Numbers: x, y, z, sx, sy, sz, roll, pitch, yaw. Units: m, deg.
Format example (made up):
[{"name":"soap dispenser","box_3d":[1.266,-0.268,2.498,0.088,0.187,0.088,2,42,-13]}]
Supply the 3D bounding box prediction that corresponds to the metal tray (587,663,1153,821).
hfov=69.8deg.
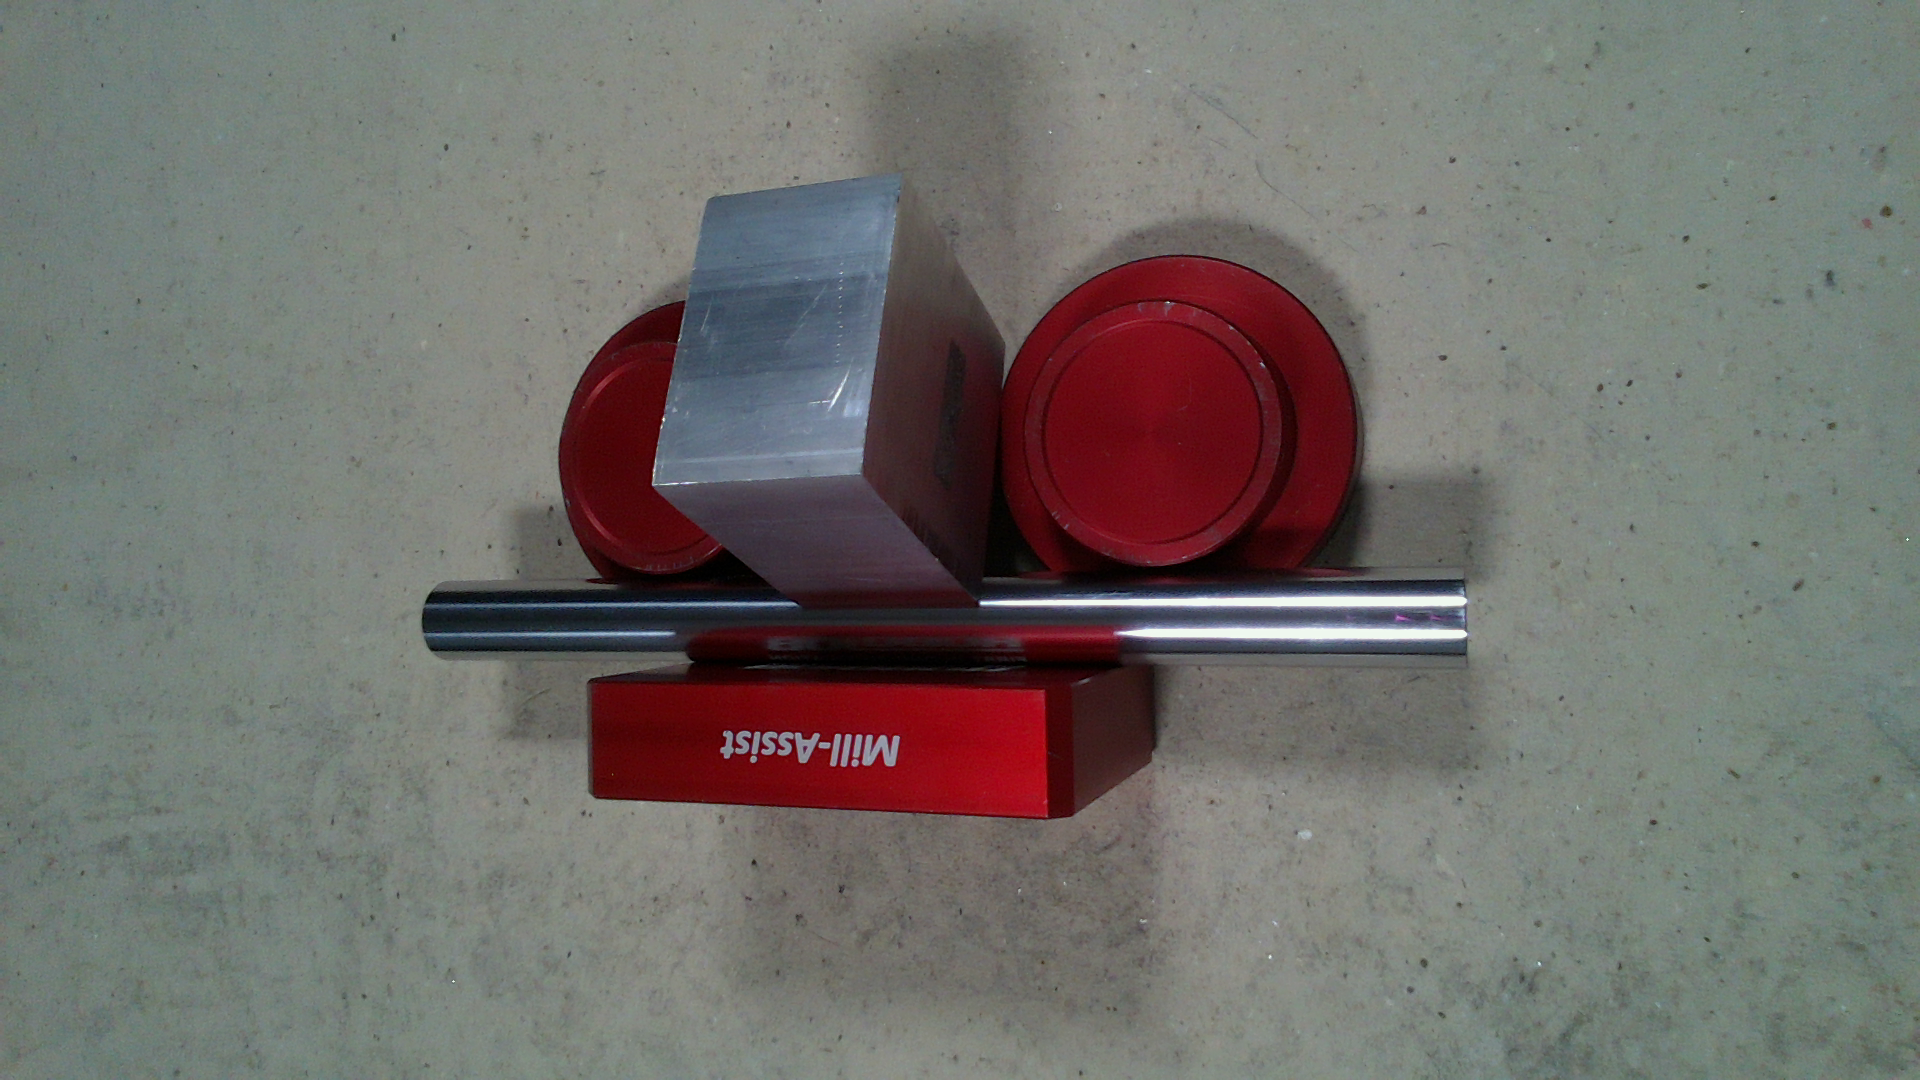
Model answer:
[{"name":"metal tray","box_3d":[-0.021,0.049,0.369,0.130,0.090,0.030,-1,90,20]}]

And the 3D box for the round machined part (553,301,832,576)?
[{"name":"round machined part","box_3d":[-0.082,-0.024,0.414,0.098,0.042,0.098,0,90,20]}]

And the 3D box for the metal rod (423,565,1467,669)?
[{"name":"metal rod","box_3d":[-0.019,0.022,0.381,0.299,0.025,0.025,-1,90,20]}]

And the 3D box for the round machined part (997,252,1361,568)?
[{"name":"round machined part","box_3d":[0.055,-0.028,0.366,0.098,0.042,0.098,0,90,20]}]

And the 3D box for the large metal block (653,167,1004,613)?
[{"name":"large metal block","box_3d":[-0.028,-0.034,0.348,0.050,0.080,0.080,-2,66,20]}]
